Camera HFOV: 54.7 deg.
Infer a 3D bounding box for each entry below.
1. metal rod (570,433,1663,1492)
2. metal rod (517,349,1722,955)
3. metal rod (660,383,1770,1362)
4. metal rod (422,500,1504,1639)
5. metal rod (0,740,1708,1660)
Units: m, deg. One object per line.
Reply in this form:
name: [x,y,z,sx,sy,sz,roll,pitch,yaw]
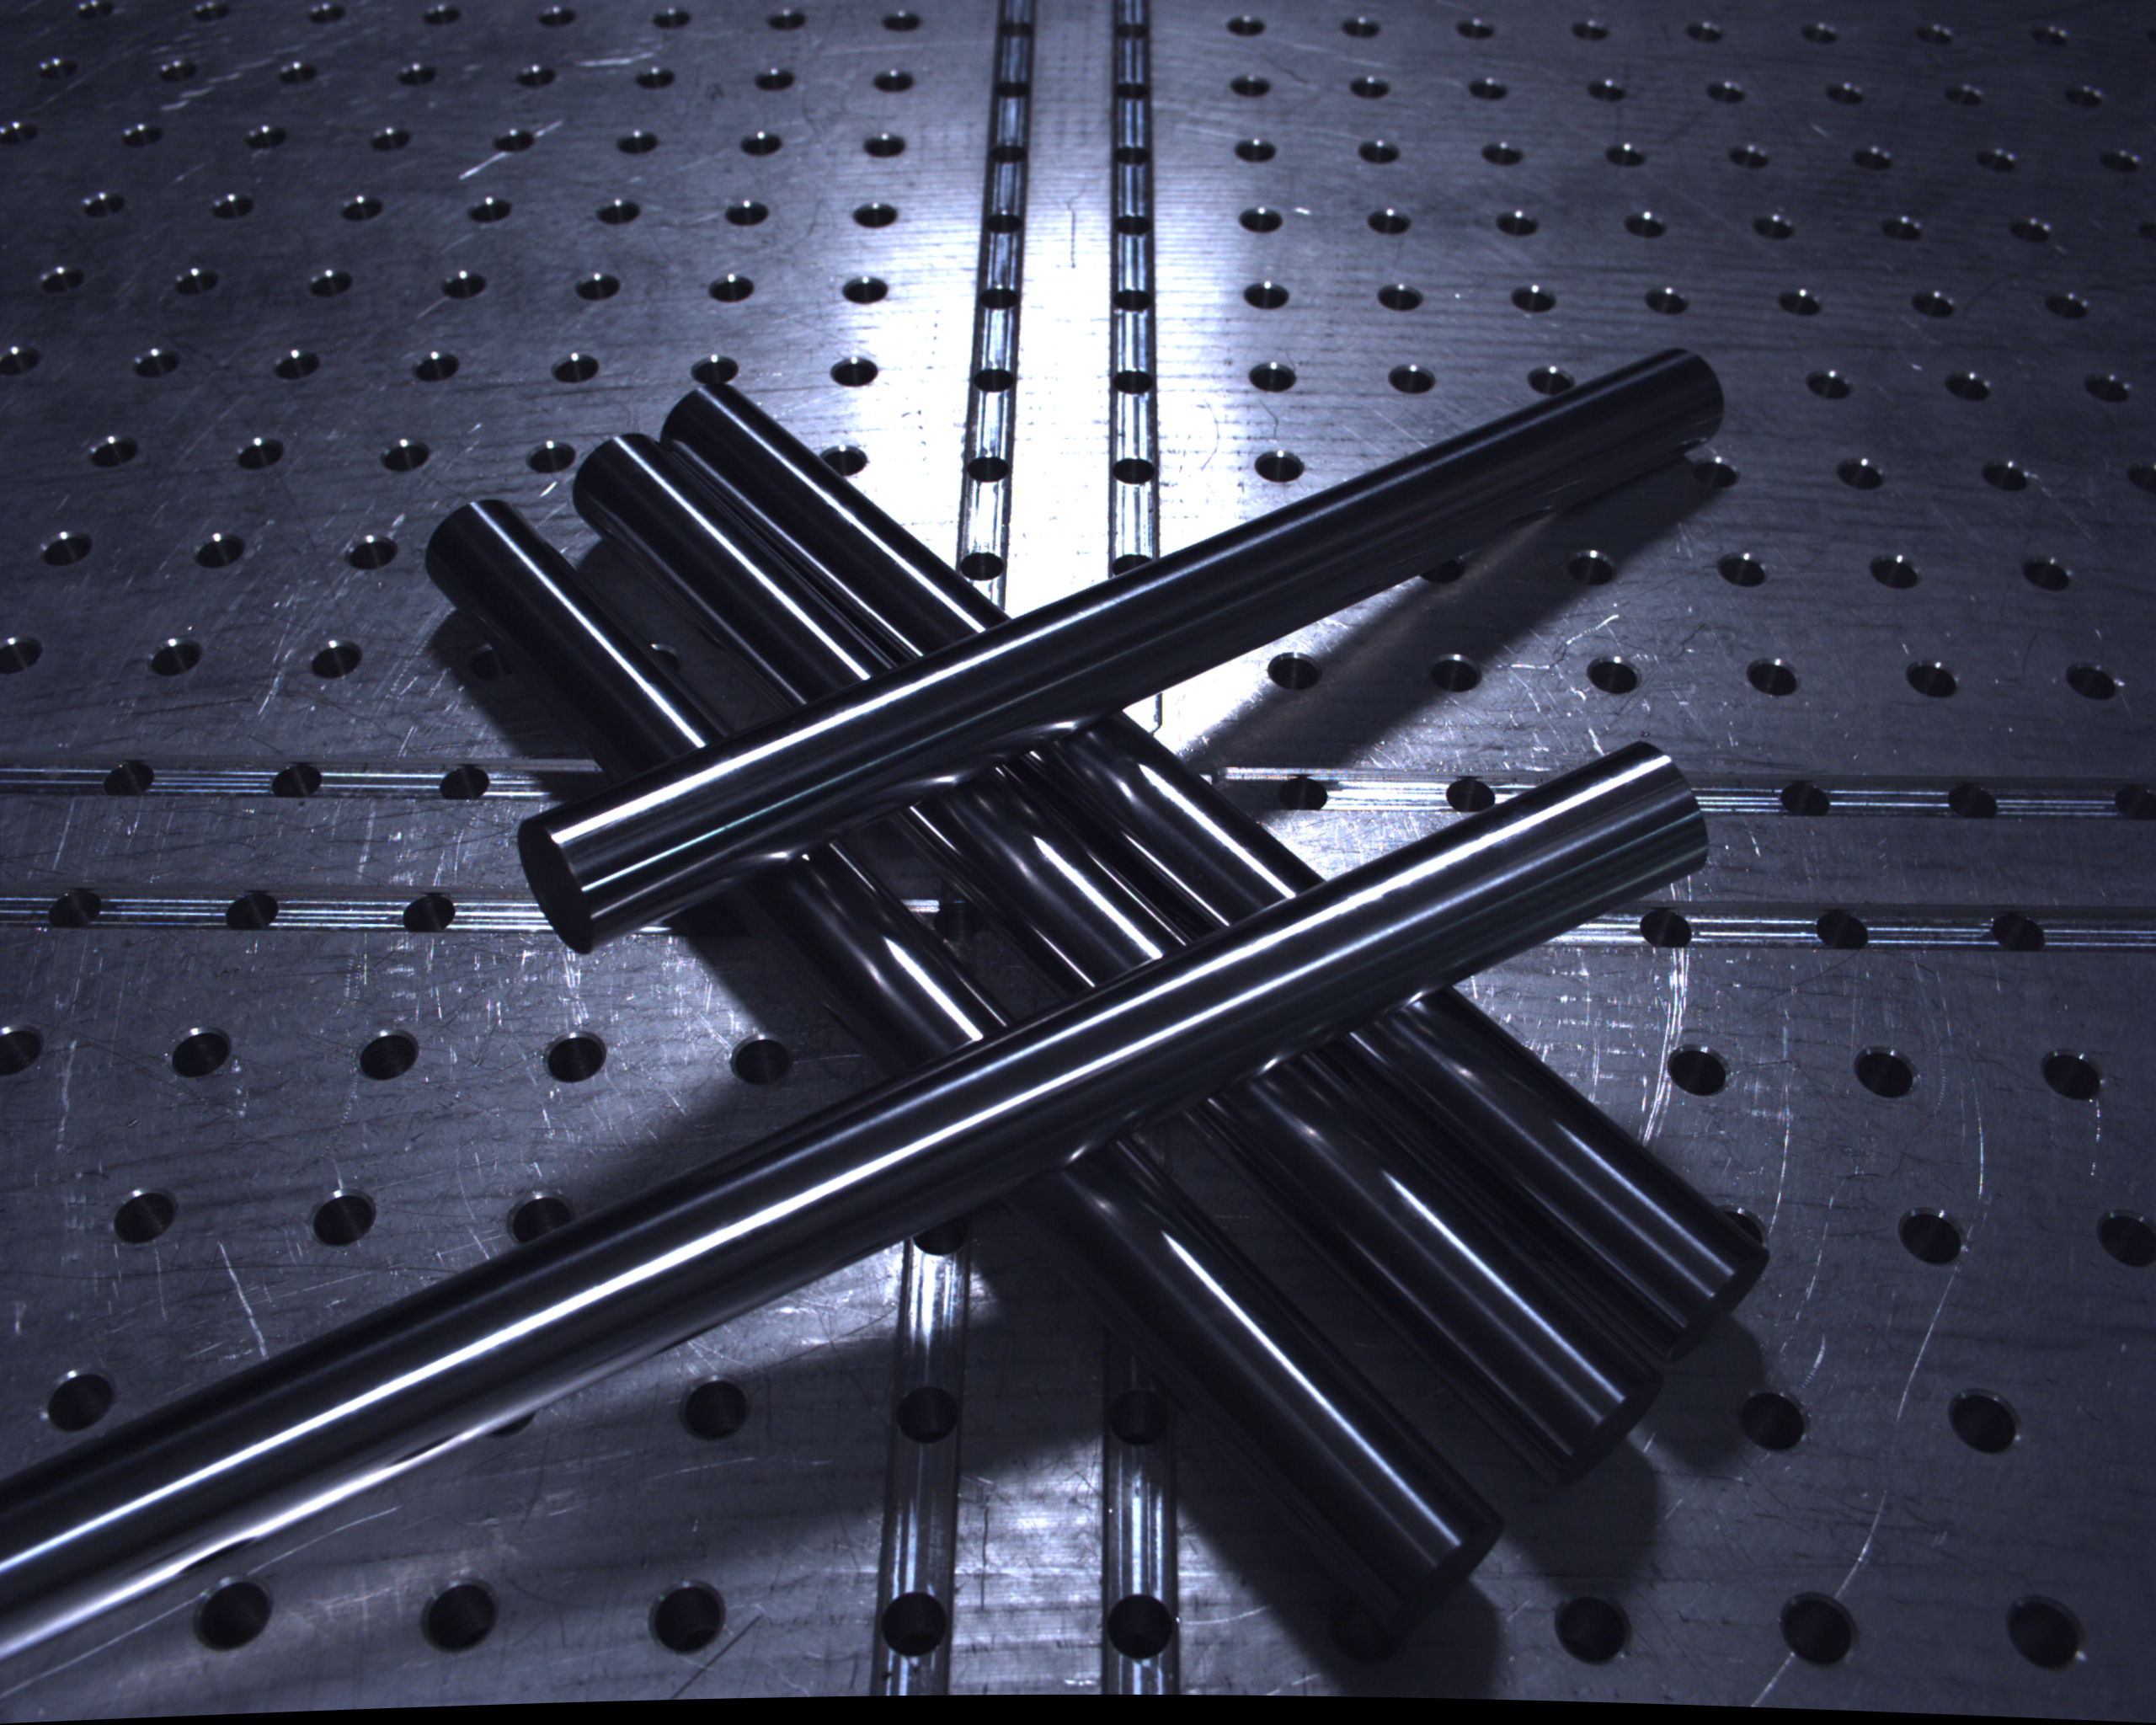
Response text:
metal rod: [-0.011,0.002,0.406,0.025,0.025,0.300,-32,57,-24]
metal rod: [0.029,-0.054,0.427,0.302,0.025,0.025,-26,55,-31]
metal rod: [0.009,-0.014,0.419,0.025,0.025,0.300,-33,58,-25]
metal rod: [-0.039,0.019,0.390,0.025,0.025,0.300,-32,57,-24]
metal rod: [-0.034,0.050,0.338,0.302,0.025,0.025,-24,54,-9]
